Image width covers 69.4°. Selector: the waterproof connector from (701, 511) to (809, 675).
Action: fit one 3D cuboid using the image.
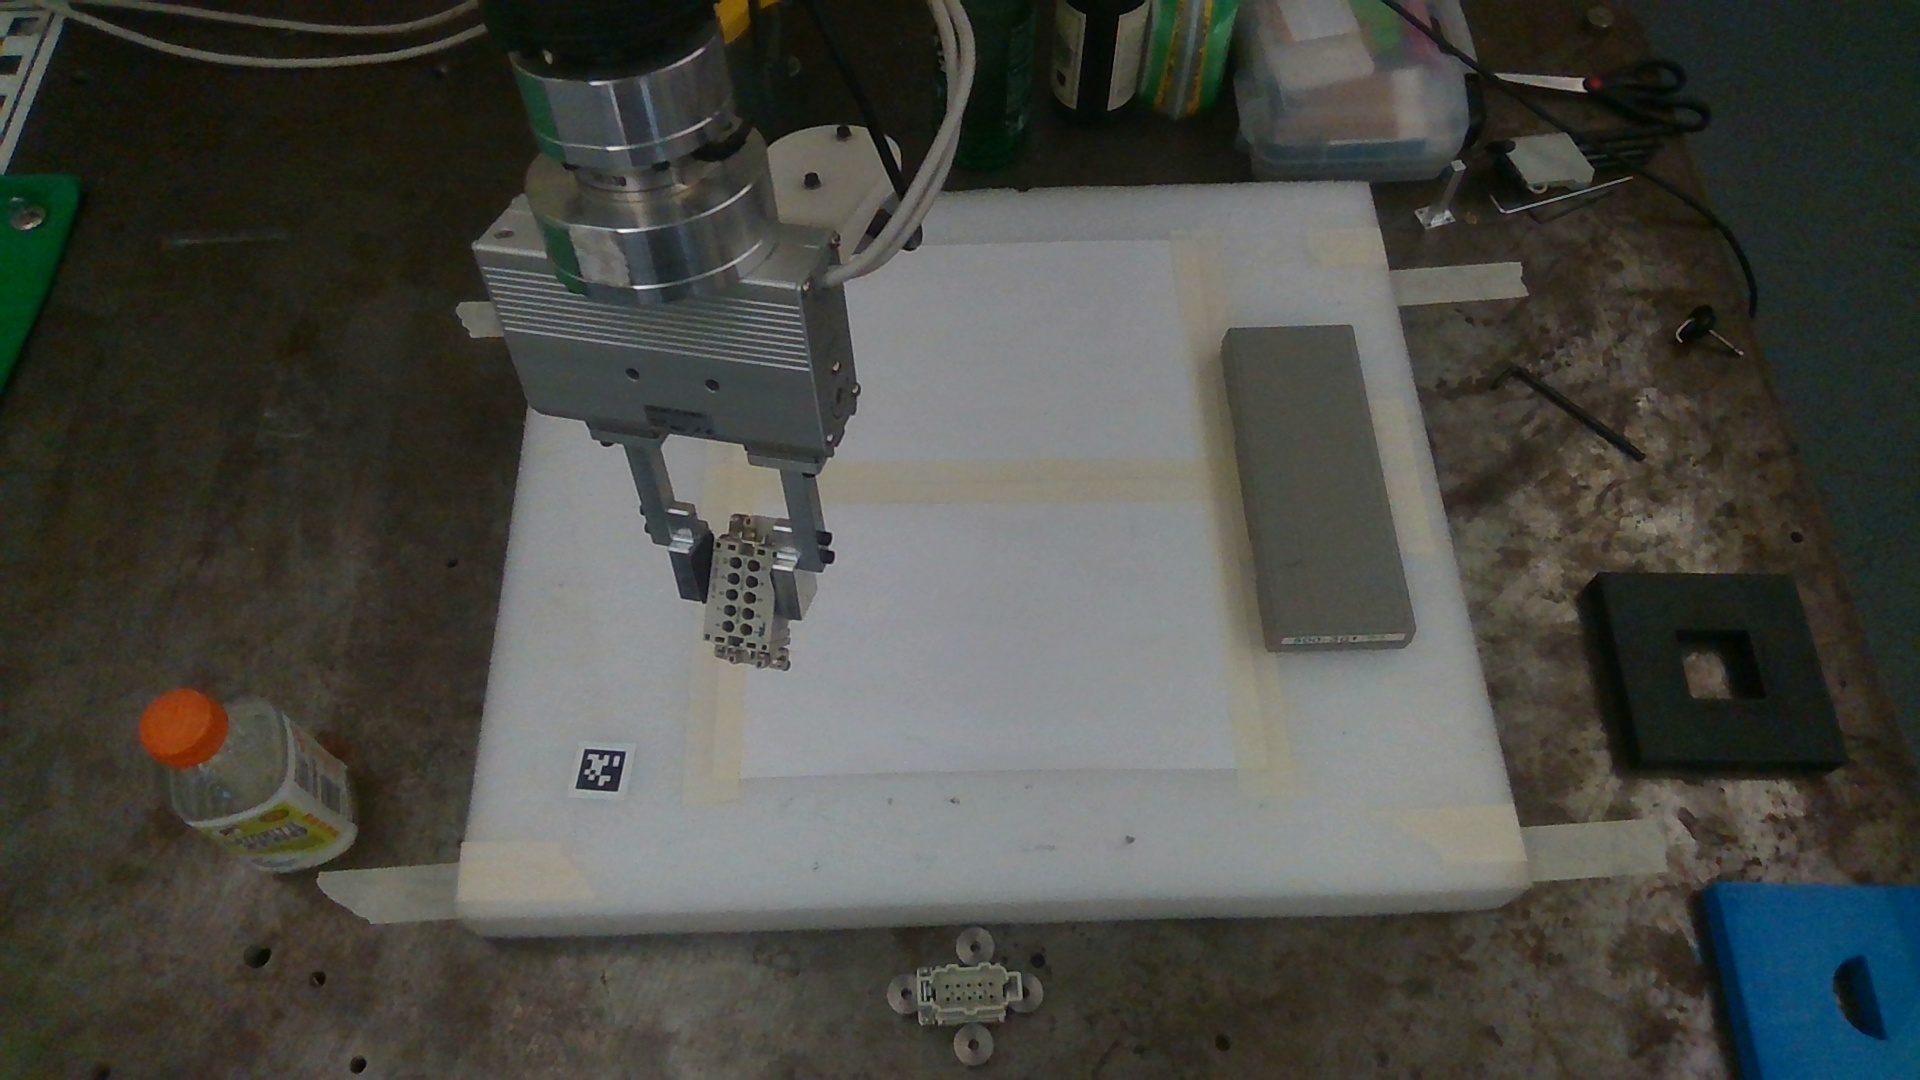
[{"bbox_3d":[-0.086,0.022,0.595,0.037,0.038,0.069,8,94,13],"label":"waterproof connector"}]
